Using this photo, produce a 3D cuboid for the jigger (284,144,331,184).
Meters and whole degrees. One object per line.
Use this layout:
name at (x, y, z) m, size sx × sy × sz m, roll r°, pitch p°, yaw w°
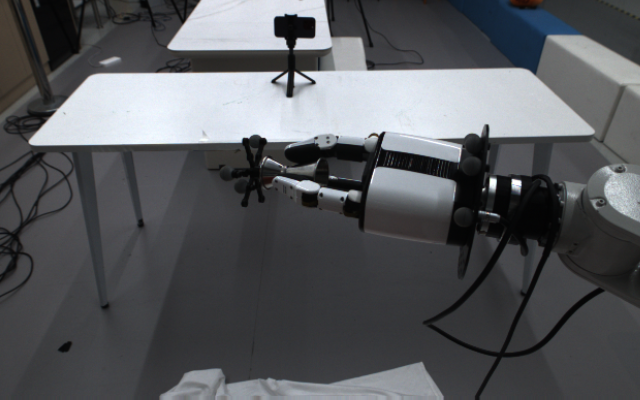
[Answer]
jigger at (-0.021, -0.034, 0.547) m, size 0.071 × 0.043 × 0.043 m, roll 4°, pitch 34°, yaw 20°
